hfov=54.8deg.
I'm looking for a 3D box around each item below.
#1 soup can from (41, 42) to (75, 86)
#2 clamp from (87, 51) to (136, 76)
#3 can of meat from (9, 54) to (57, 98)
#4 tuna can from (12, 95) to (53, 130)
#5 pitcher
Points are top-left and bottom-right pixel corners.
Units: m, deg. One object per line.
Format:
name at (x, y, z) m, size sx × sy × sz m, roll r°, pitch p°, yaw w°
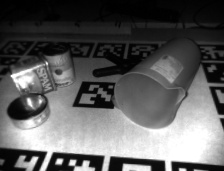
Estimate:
soup can at (-0.147, -0.059, 0.600) m, size 0.068 × 0.103 × 0.067 m, roll -4°, pitch 42°, yaw 4°
clamp at (0.016, -0.064, 0.660) m, size 0.165 × 0.037 × 0.121 m, roll 4°, pitch 37°, yaw 3°
can of meat at (-0.199, -0.018, 0.549) m, size 0.084 × 0.102 × 0.057 m, roll -27°, pitch 47°, yaw -19°
tuna can at (-0.185, 0.063, 0.511) m, size 0.085 × 0.034 × 0.085 m, roll -1°, pitch 43°, yaw 2°
pitcher at (0.116, -0.038, 0.529) m, size 0.186 × 0.134 × 0.244 m, roll -4°, pitch 28°, yaw 35°
